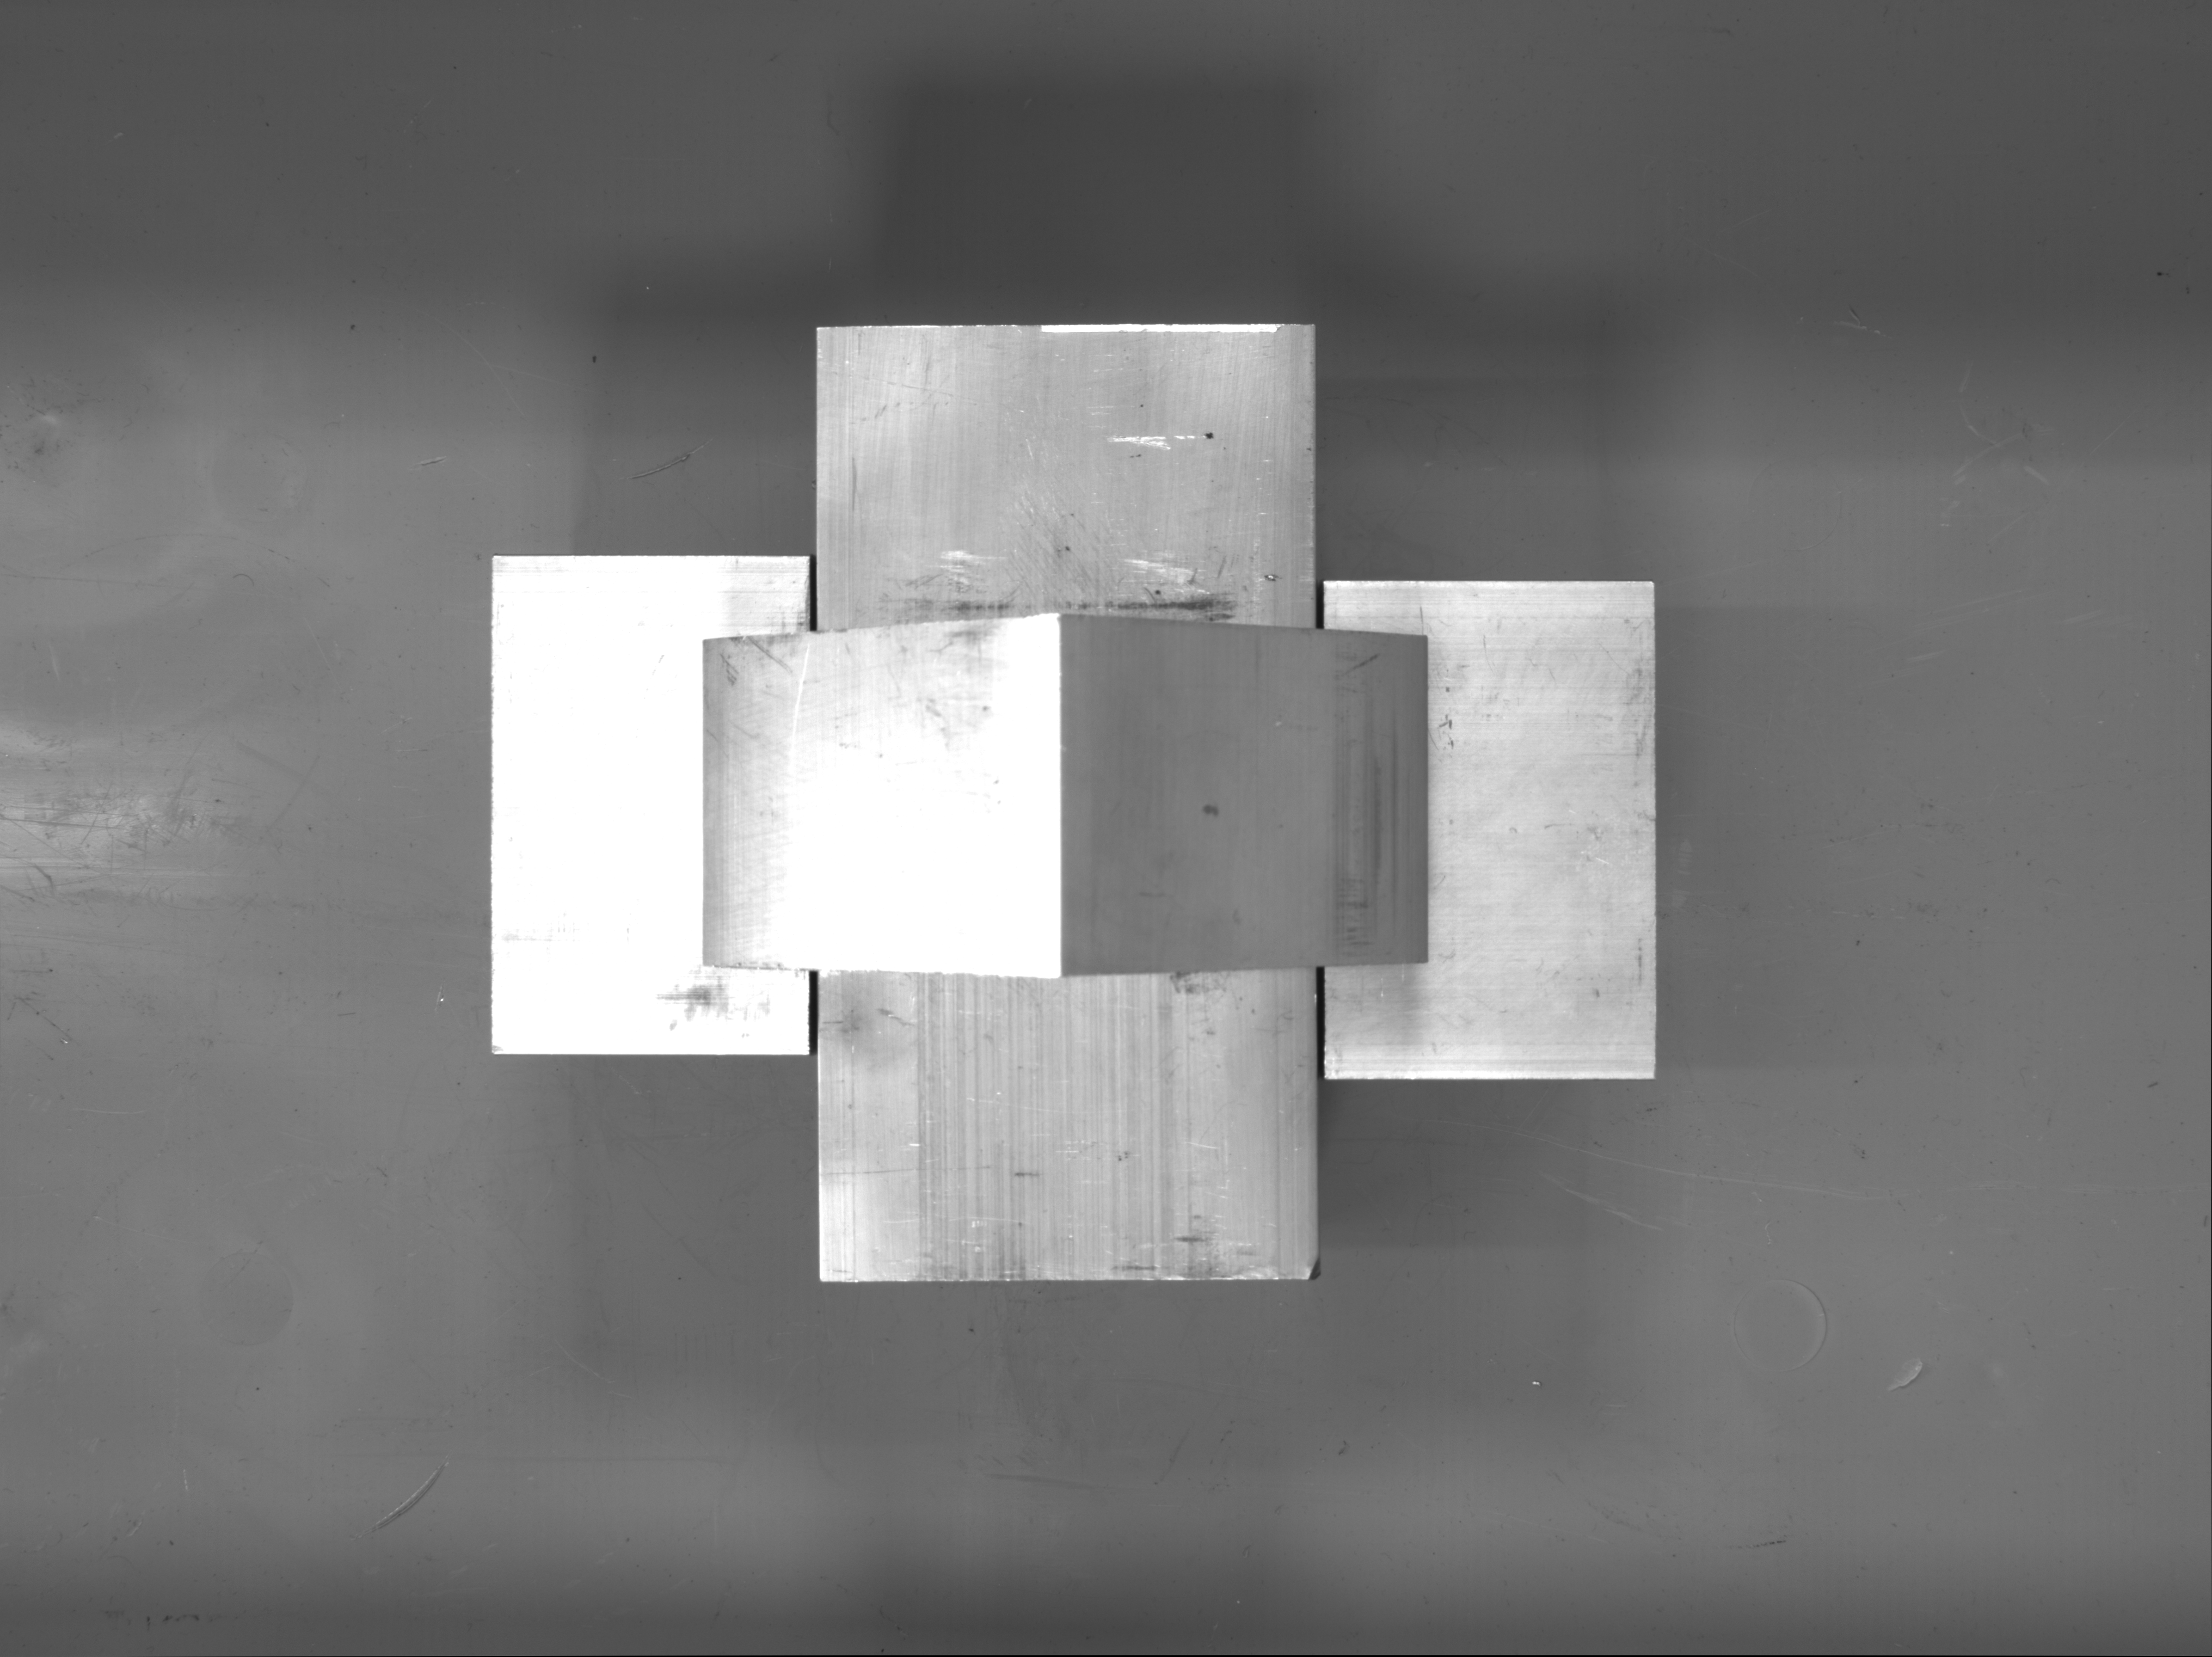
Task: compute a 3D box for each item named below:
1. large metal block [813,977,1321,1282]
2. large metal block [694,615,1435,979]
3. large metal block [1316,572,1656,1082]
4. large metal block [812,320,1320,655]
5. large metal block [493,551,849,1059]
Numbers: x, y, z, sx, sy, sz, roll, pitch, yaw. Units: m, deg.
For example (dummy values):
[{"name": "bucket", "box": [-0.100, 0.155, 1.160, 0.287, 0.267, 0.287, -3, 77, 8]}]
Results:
[{"name": "large metal block", "box": [-0.006, 0.046, 0.617, 0.080, 0.080, 0.050, 0, 90, 0]}, {"name": "large metal block", "box": [-0.006, -0.004, 0.560, 0.080, 0.080, 0.050, 0, 90, -45]}, {"name": "large metal block", "box": [0.061, 0.000, 0.615, 0.050, 0.080, 0.080, 0, 90, 0]}, {"name": "large metal block", "box": [-0.006, -0.055, 0.617, 0.080, 0.080, 0.050, 0, 90, 0]}, {"name": "large metal block", "box": [-0.071, -0.004, 0.617, 0.050, 0.080, 0.080, 0, 90, 0]}]
